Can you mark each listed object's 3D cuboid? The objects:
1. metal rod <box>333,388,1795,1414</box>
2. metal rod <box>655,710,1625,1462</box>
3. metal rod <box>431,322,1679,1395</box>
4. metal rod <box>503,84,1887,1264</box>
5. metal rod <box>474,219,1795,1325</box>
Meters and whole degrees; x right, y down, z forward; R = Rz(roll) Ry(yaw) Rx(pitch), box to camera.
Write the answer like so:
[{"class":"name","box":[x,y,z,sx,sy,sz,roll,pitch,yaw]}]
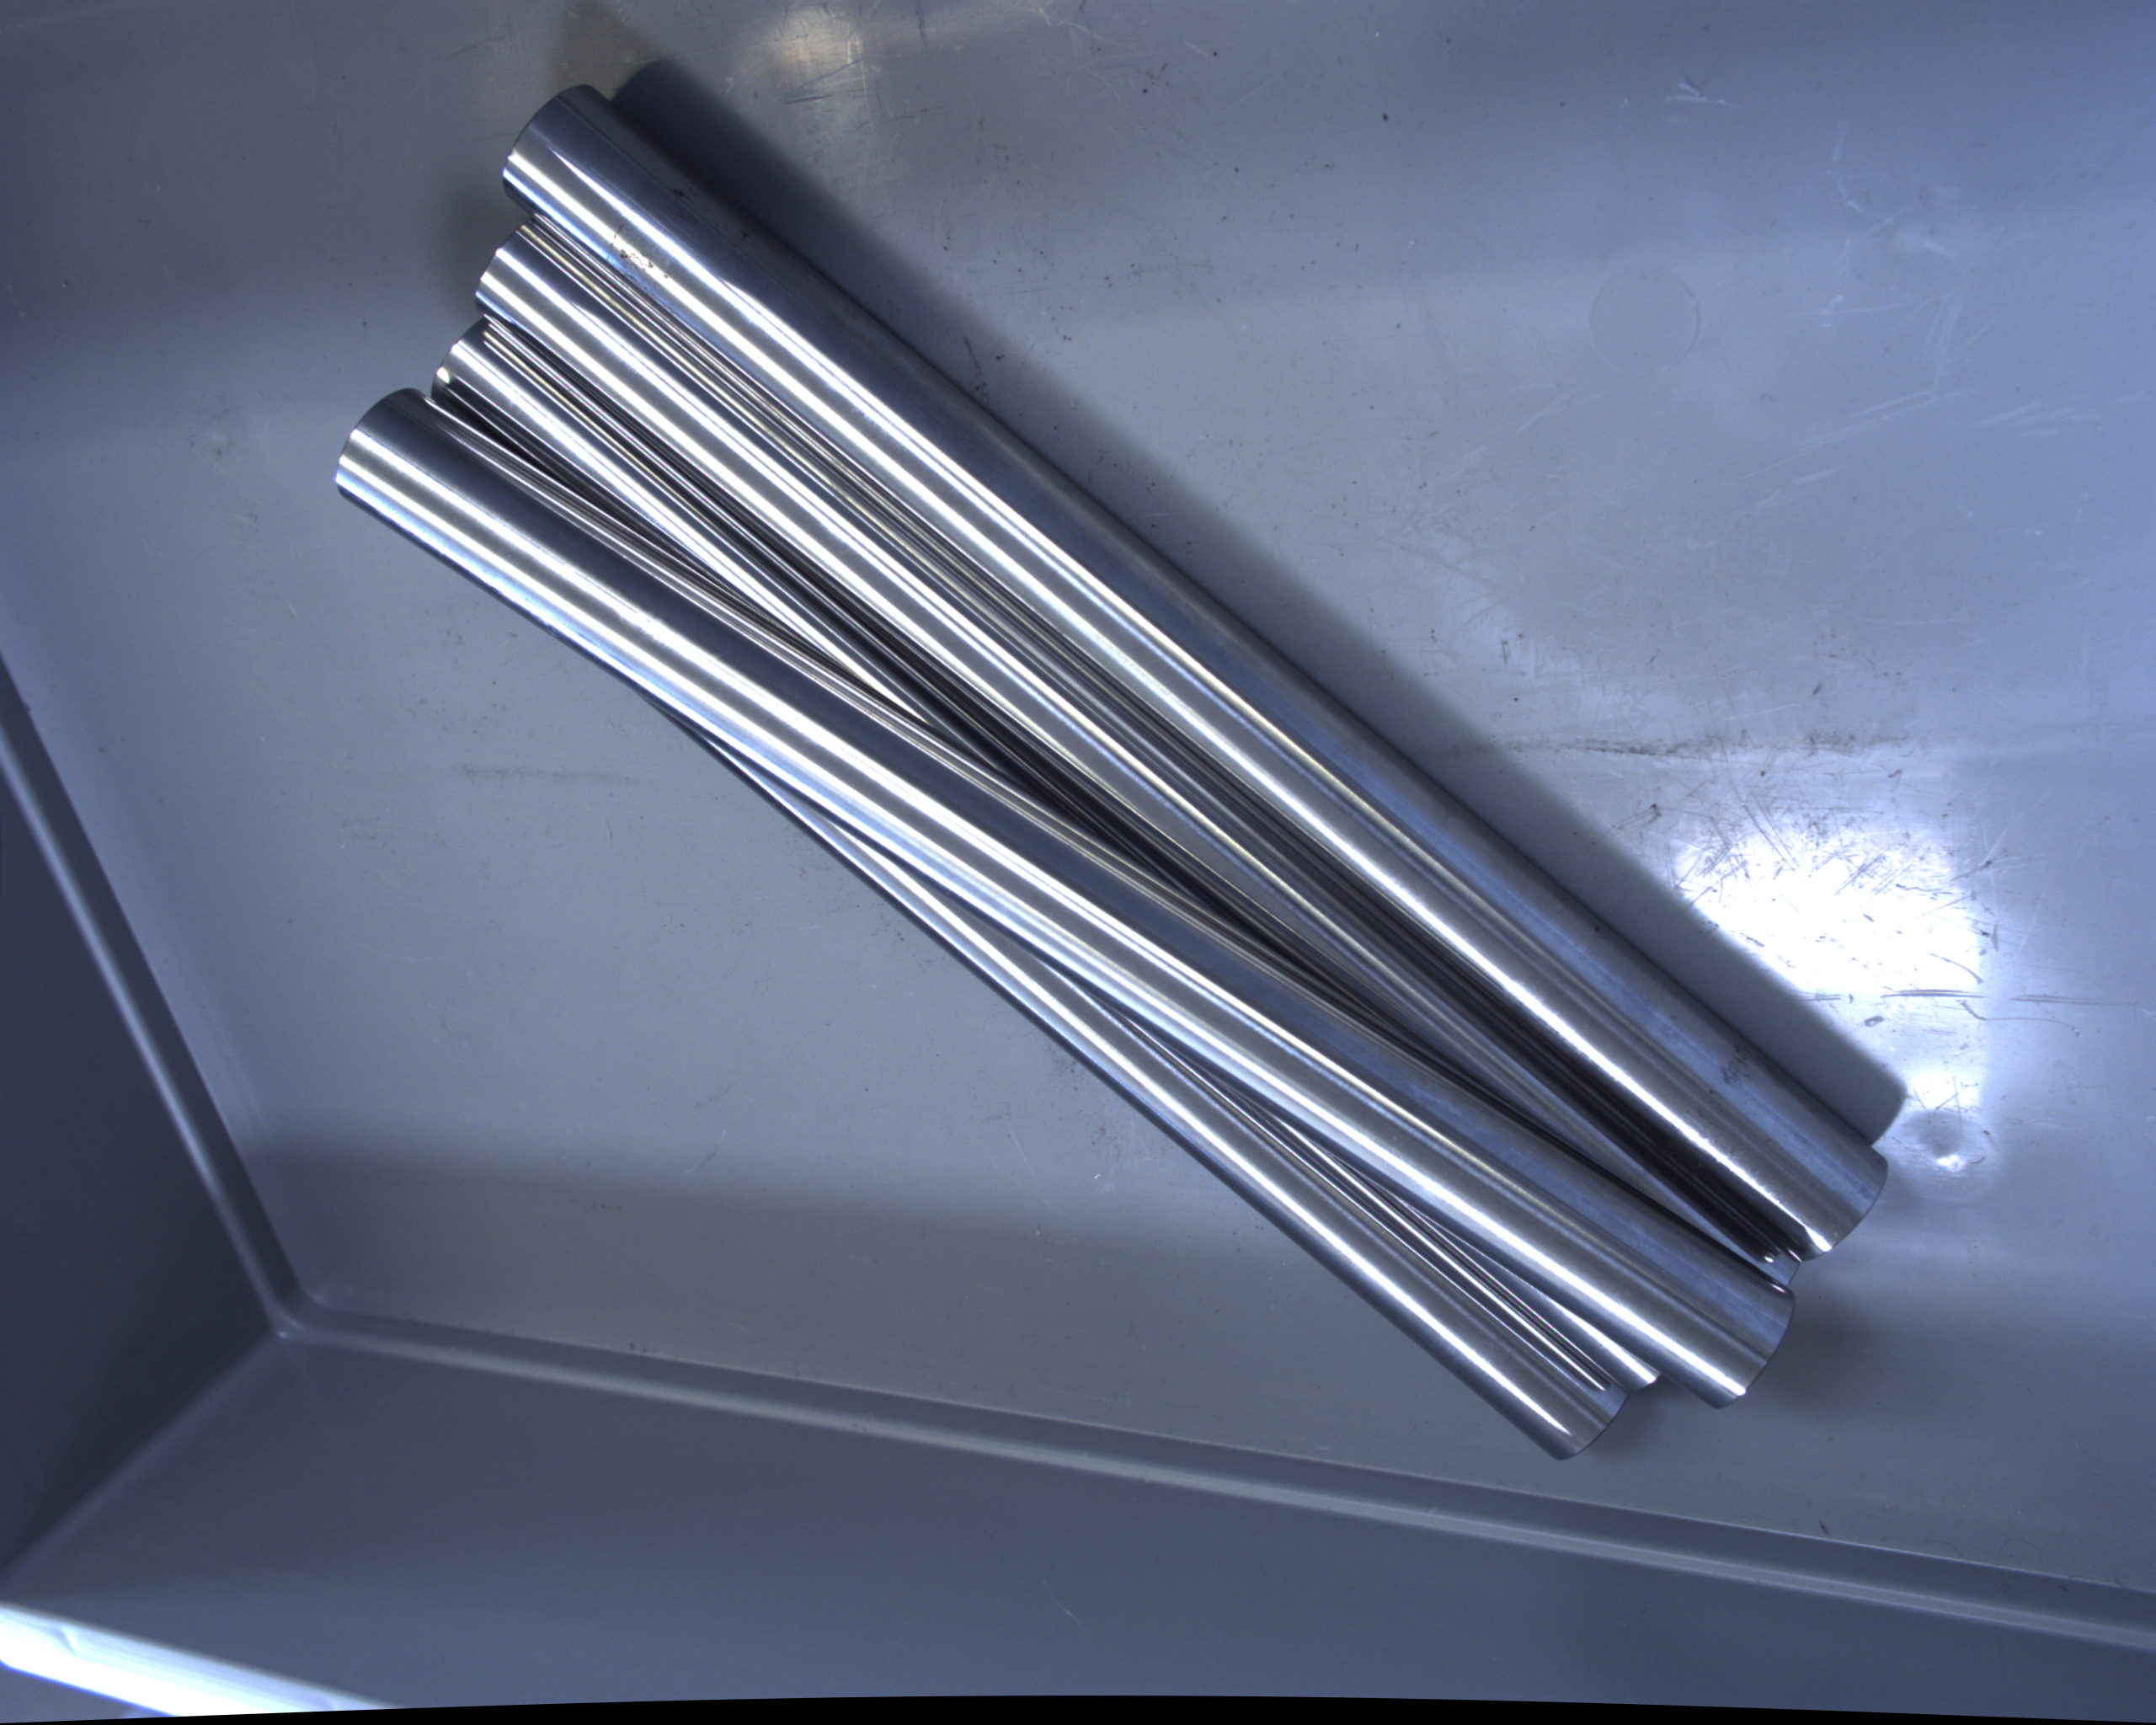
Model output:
[{"class":"metal rod","box":[-0.007,0.003,0.380,0.301,0.025,0.025,33,129,6]},{"class":"metal rod","box":[-0.012,0.015,0.422,0.300,0.025,0.025,40,129,1]},{"class":"metal rod","box":[-0.002,-0.003,0.407,0.300,0.025,0.025,40,129,1]},{"class":"metal rod","box":[0.020,-0.034,0.375,0.300,0.025,0.025,40,129,1]},{"class":"metal rod","box":[0.011,-0.017,0.391,0.300,0.025,0.025,40,129,1]}]
